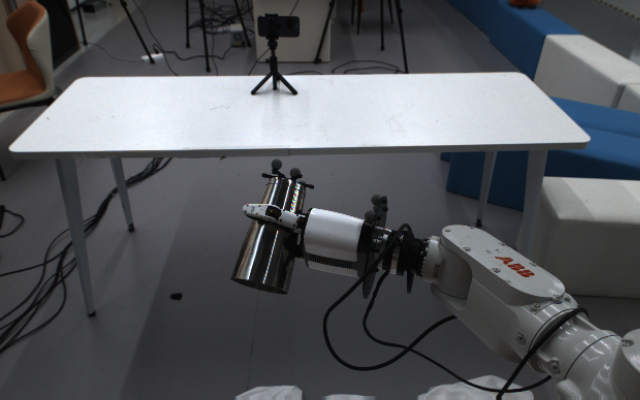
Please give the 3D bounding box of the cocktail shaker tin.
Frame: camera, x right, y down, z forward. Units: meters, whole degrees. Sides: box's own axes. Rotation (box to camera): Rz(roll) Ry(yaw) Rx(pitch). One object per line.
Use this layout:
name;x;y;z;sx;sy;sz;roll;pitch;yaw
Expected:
cocktail shaker tin;-0.074;0.054;0.766;0.093;0.093;0.170;10;71;12
